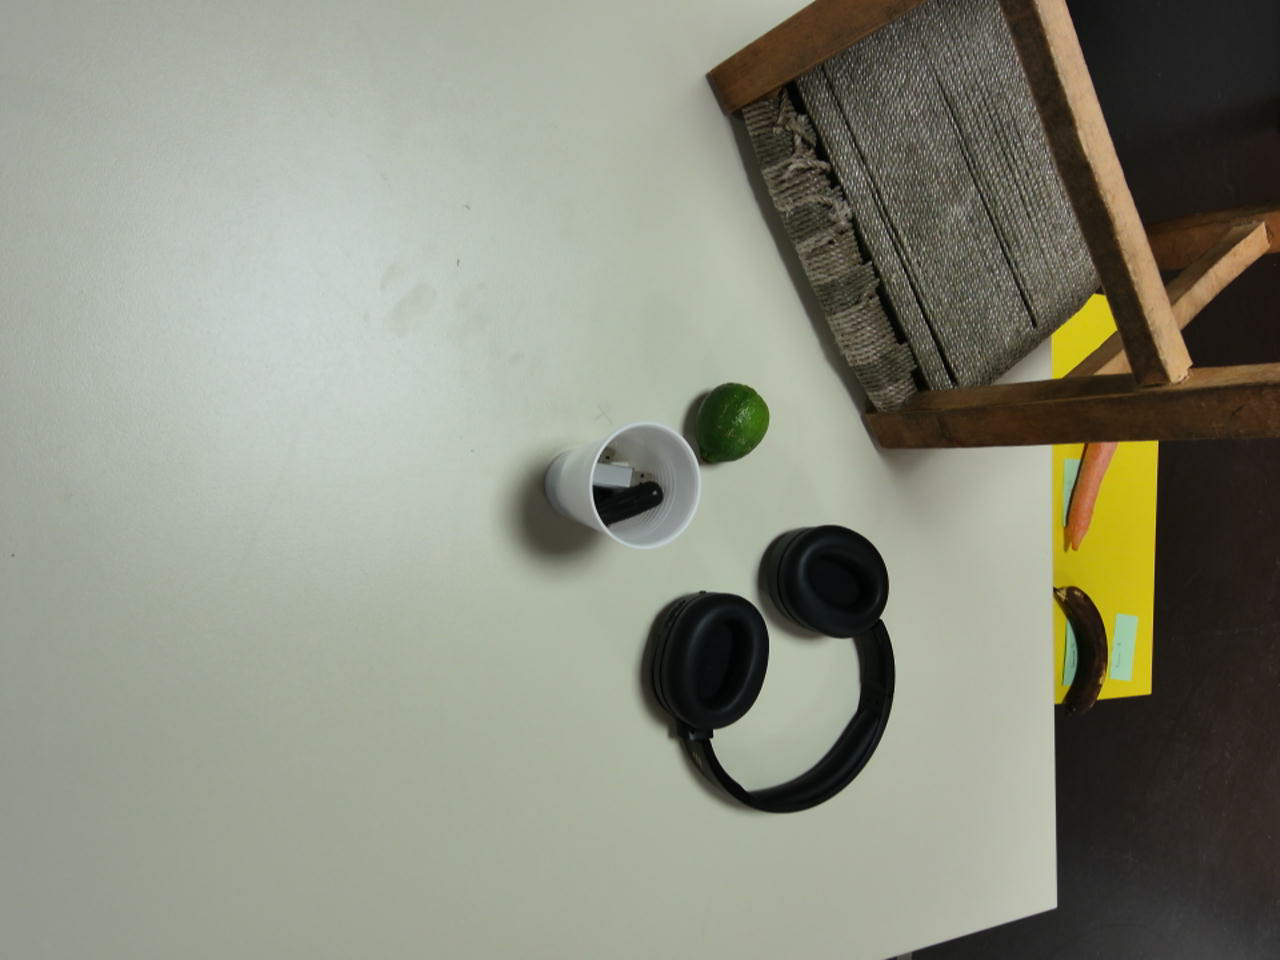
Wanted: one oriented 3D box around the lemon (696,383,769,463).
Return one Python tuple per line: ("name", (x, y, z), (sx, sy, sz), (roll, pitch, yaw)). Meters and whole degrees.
("lemon", (0.068, -0.042, 0.728), (0.054, 0.051, 0.057), (-6, 93, -28))
